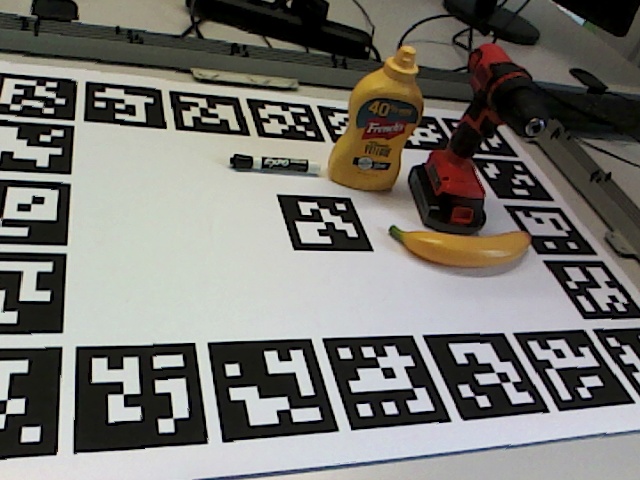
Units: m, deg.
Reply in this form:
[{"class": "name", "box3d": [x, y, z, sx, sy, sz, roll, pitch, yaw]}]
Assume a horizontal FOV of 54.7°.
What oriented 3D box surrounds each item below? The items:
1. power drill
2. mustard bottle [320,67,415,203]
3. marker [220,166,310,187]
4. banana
[{"class": "power drill", "box3d": [0.188, -0.101, 0.787, 0.057, 0.187, 0.185, 12, 39, -11]}, {"class": "mustard bottle", "box3d": [0.070, -0.137, 0.807, 0.096, 0.191, 0.058, 10, 42, -13]}, {"class": "marker", "box3d": [-0.073, -0.085, 0.828, 0.120, 0.019, 0.020, 3, 45, -18]}, {"class": "banana", "box3d": [0.174, 0.029, 0.787, 0.197, 0.039, 0.074, 6, 44, -12]}]
